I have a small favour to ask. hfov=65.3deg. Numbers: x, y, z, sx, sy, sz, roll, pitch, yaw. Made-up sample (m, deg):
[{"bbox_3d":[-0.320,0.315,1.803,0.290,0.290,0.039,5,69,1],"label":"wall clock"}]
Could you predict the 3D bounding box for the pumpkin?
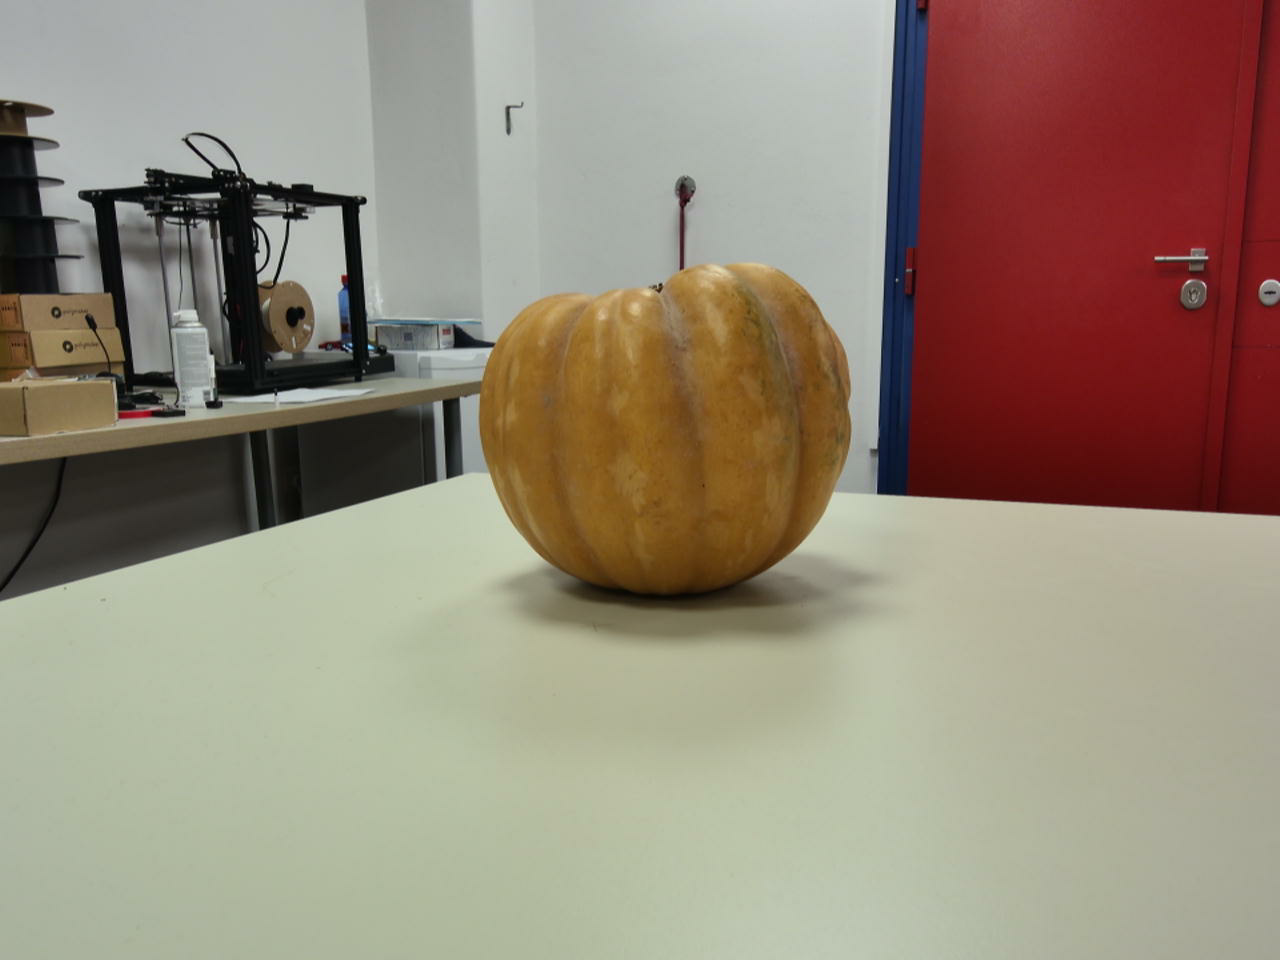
[{"bbox_3d":[0.017,-0.031,0.611,0.230,0.194,0.230,0,7,0],"label":"pumpkin"}]
